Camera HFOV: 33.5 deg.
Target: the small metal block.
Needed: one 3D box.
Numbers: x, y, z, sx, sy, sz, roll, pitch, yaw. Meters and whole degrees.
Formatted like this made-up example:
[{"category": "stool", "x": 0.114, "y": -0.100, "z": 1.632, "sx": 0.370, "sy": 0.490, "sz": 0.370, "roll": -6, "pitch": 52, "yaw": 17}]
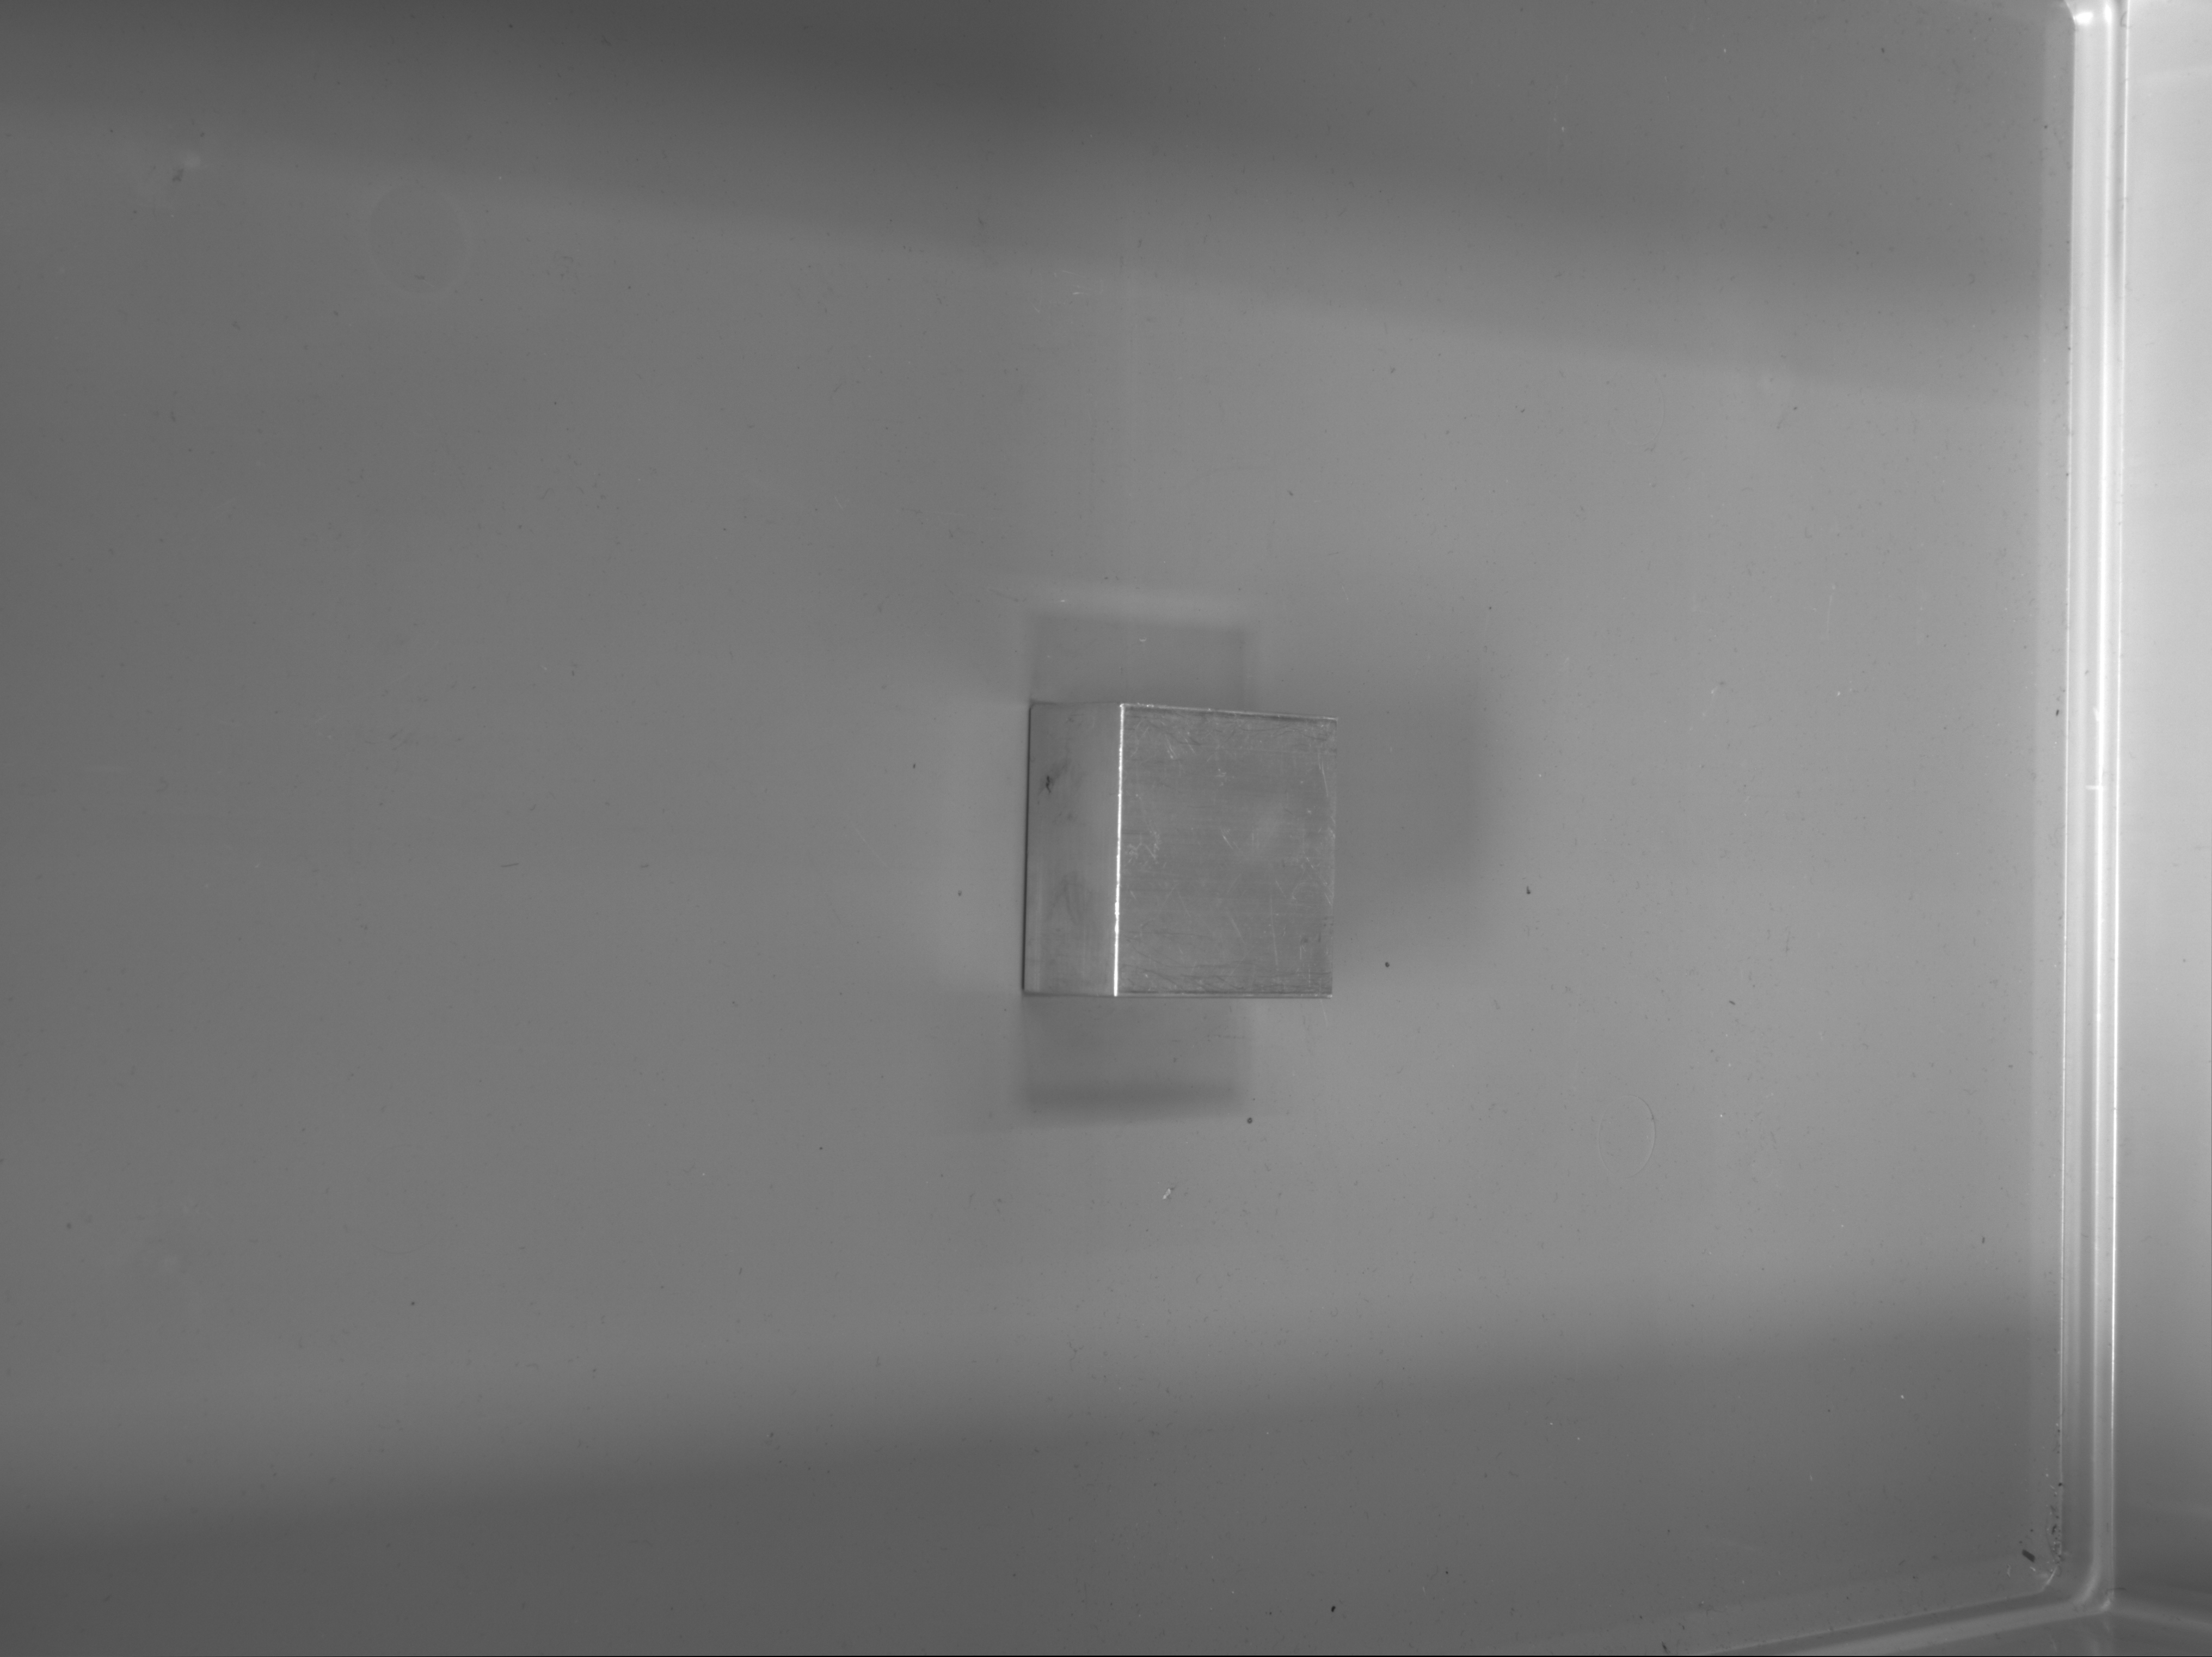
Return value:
[{"category": "small metal block", "x": 0.013, "y": 0.004, "z": 0.643, "sx": 0.050, "sy": 0.025, "sz": 0.050, "roll": 2, "pitch": 89, "yaw": -39}]
